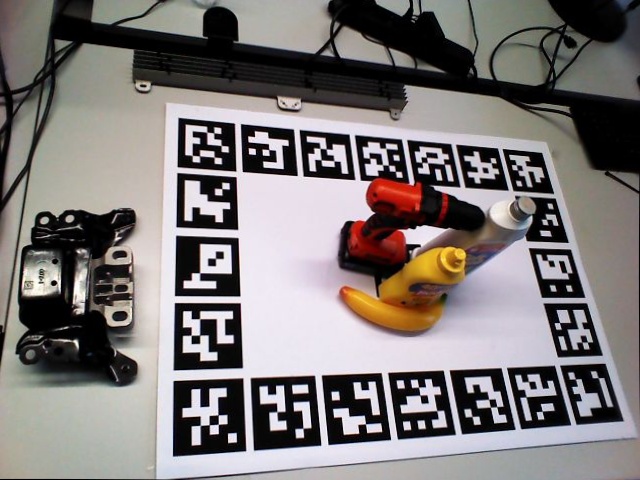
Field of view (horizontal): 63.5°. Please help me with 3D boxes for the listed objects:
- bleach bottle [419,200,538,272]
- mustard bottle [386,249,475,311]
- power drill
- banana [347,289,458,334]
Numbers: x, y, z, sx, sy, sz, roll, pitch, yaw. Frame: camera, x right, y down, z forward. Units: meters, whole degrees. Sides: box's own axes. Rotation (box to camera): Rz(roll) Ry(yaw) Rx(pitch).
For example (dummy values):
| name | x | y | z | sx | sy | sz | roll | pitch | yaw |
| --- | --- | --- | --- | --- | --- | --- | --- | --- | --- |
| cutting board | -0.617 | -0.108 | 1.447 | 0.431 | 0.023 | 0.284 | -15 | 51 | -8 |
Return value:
| name | x | y | z | sx | sy | sz | roll | pitch | yaw |
| --- | --- | --- | --- | --- | --- | --- | --- | --- | --- |
| bleach bottle | 0.253 | 0.000 | 0.817 | 0.102 | 0.252 | 0.067 | 6 | 61 | -15 |
| mustard bottle | 0.182 | 0.059 | 0.798 | 0.096 | 0.193 | 0.058 | 4 | 67 | -17 |
| power drill | 0.145 | -0.017 | 0.795 | 0.184 | 0.188 | 0.057 | 15 | 63 | -12 |
| banana | 0.140 | 0.117 | 0.857 | 0.197 | 0.039 | 0.074 | 7 | 67 | -12 |
